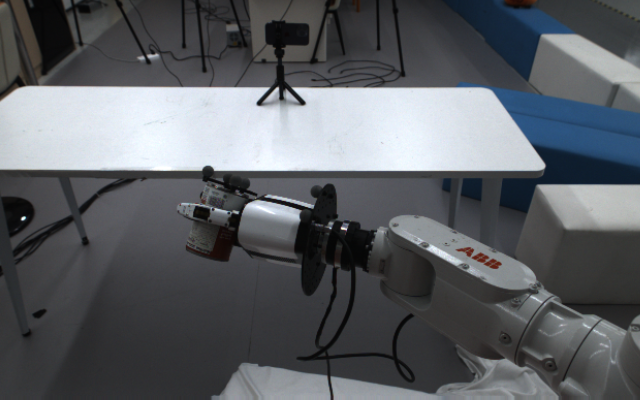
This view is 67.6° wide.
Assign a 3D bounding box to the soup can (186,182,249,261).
[{"bbox_3d":[-0.150,0.033,0.710,0.067,0.101,0.067,18,-1,0],"label":"soup can"}]
